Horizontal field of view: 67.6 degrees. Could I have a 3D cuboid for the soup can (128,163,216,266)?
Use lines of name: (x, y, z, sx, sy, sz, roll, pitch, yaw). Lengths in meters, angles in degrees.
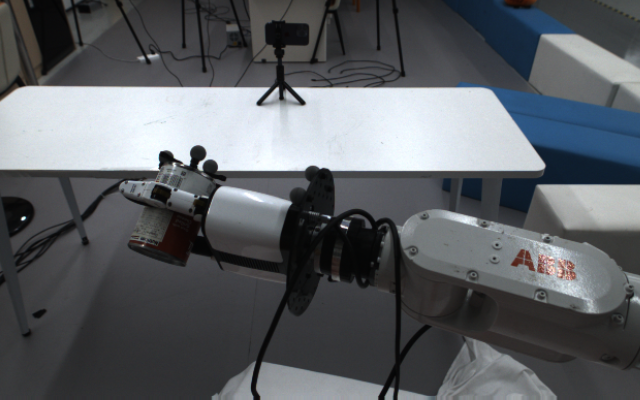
soup can: (-0.165, 0.017, 0.550, 0.067, 0.067, 0.101, 12, 70, 13)
